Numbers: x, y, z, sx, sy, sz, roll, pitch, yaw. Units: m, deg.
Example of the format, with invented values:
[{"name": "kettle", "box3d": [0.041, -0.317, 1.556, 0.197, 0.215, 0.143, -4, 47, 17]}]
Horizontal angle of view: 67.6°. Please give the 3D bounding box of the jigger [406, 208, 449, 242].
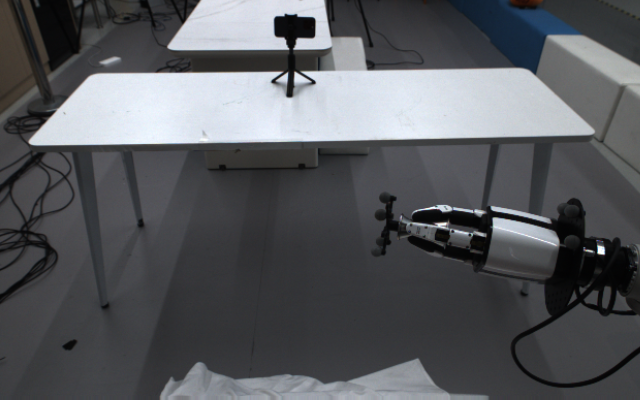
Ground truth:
[{"name": "jigger", "box3d": [0.154, 0.040, 0.692, 0.071, 0.043, 0.043, 8, 35, 15]}]
